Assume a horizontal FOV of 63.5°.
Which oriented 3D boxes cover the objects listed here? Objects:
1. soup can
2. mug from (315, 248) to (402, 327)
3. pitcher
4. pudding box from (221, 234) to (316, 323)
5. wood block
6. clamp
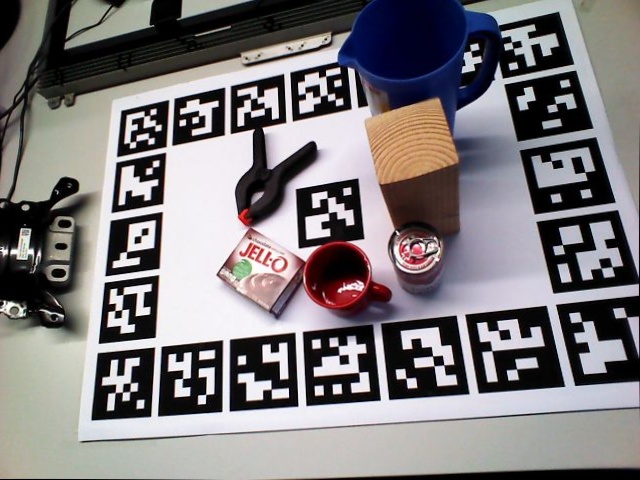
[{"bbox_3d":[0.144,0.040,0.666,0.068,0.102,0.067,-5,71,14],"label":"soup can"},{"bbox_3d":[0.057,0.074,0.691,0.117,0.081,0.093,29,77,25],"label":"mug"},{"bbox_3d":[0.159,-0.185,0.673,0.190,0.242,0.132,-9,65,16],"label":"pitcher"},{"bbox_3d":[-0.075,0.057,0.764,0.114,0.038,0.090,30,84,25],"label":"pudding box"},{"bbox_3d":[0.144,-0.064,0.648,0.090,0.206,0.090,-9,67,9],"label":"wood block"},{"bbox_3d":[-0.059,-0.093,0.822,0.122,0.036,0.164,23,78,15],"label":"clamp"}]
